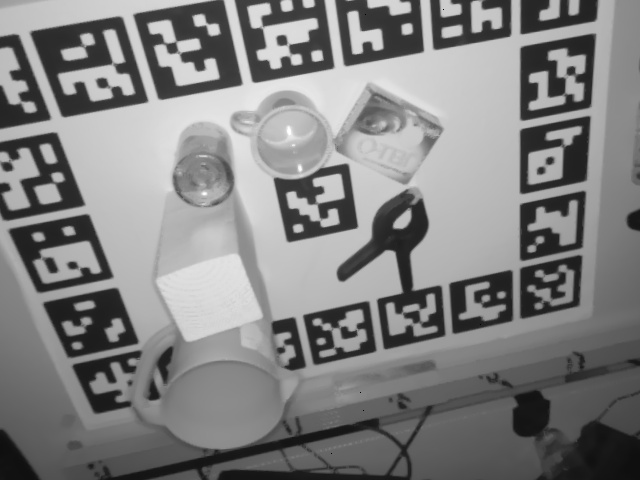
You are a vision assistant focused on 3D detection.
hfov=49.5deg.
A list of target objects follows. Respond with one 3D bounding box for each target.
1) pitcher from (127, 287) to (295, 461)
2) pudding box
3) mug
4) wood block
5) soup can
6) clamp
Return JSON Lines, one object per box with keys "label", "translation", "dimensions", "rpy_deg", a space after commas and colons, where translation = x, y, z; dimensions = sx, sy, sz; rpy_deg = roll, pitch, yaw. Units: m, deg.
{"label": "pitcher", "translation": [-0.138, 0.140, 0.853], "dimensions": [0.189, 0.243, 0.132], "rpy_deg": [-14, 122, -5]}
{"label": "pudding box", "translation": [0.089, -0.124, 0.868], "dimensions": [0.115, 0.039, 0.089], "rpy_deg": [22, 110, -21]}
{"label": "mug", "translation": [-0.055, -0.122, 0.814], "dimensions": [0.118, 0.082, 0.092], "rpy_deg": [20, 116, -20]}
{"label": "wood block", "translation": [-0.136, 0.025, 0.807], "dimensions": [0.090, 0.207, 0.090], "rpy_deg": [-13, 121, 3]}
{"label": "soup can", "translation": [-0.141, -0.080, 0.809], "dimensions": [0.068, 0.102, 0.067], "rpy_deg": [-4, 117, -7]}
{"label": "clamp", "translation": [0.094, 0.014, 0.951], "dimensions": [0.122, 0.037, 0.163], "rpy_deg": [17, 114, -10]}
